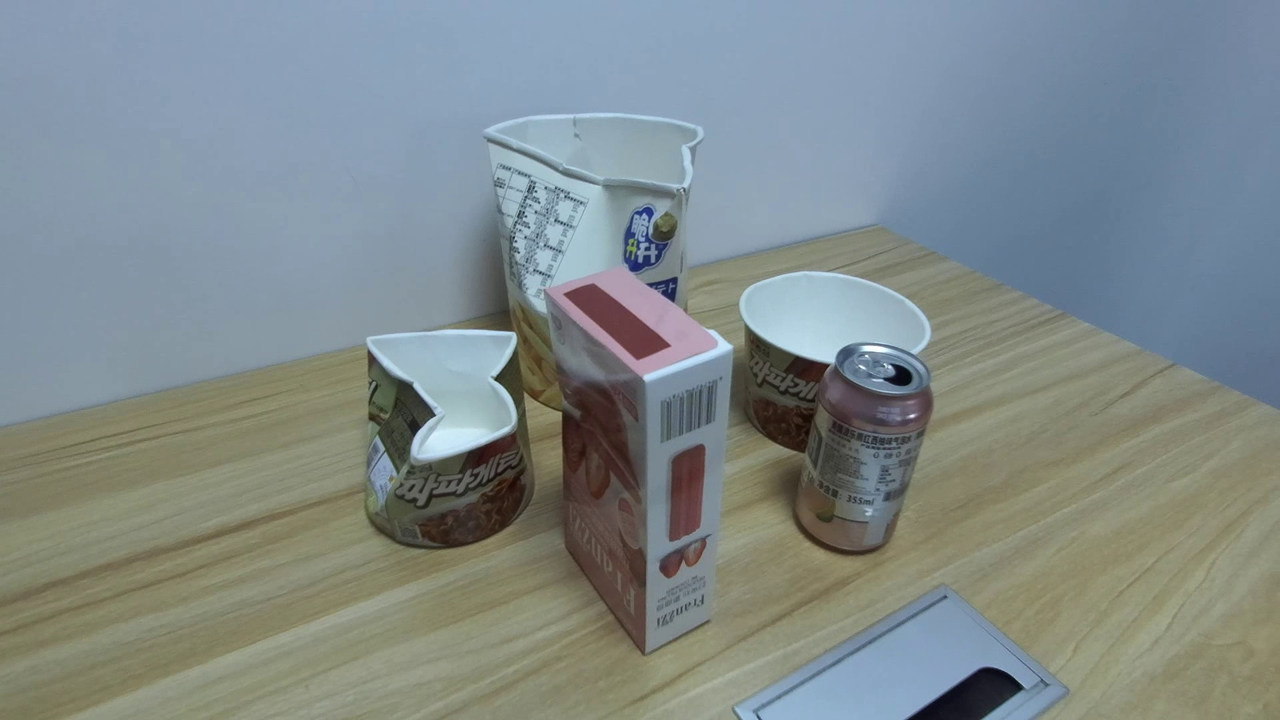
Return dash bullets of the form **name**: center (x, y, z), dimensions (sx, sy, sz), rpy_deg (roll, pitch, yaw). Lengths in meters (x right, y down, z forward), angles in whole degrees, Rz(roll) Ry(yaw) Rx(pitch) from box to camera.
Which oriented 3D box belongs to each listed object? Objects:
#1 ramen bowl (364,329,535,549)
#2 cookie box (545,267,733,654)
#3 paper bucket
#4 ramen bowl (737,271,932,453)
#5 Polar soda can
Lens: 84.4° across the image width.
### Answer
- **ramen bowl**: center (-0.126, 0.054, 0.456), dimensions (0.112, 0.093, 0.128), rpy_deg (-3, 34, -9)
- **cookie box**: center (-0.005, 0.053, 0.380), dimensions (0.049, 0.188, 0.104), rpy_deg (-19, 37, -27)
- **paper bucket**: center (-0.039, -0.079, 0.567), dimensions (0.162, 0.202, 0.169), rpy_deg (5, 31, 6)
- **ramen bowl**: center (0.144, 0.004, 0.547), dimensions (0.140, 0.095, 0.140), rpy_deg (0, 33, 0)
- **Polar soda can**: center (0.137, 0.055, 0.437), dimensions (0.067, 0.125, 0.067), rpy_deg (2, 31, -1)
